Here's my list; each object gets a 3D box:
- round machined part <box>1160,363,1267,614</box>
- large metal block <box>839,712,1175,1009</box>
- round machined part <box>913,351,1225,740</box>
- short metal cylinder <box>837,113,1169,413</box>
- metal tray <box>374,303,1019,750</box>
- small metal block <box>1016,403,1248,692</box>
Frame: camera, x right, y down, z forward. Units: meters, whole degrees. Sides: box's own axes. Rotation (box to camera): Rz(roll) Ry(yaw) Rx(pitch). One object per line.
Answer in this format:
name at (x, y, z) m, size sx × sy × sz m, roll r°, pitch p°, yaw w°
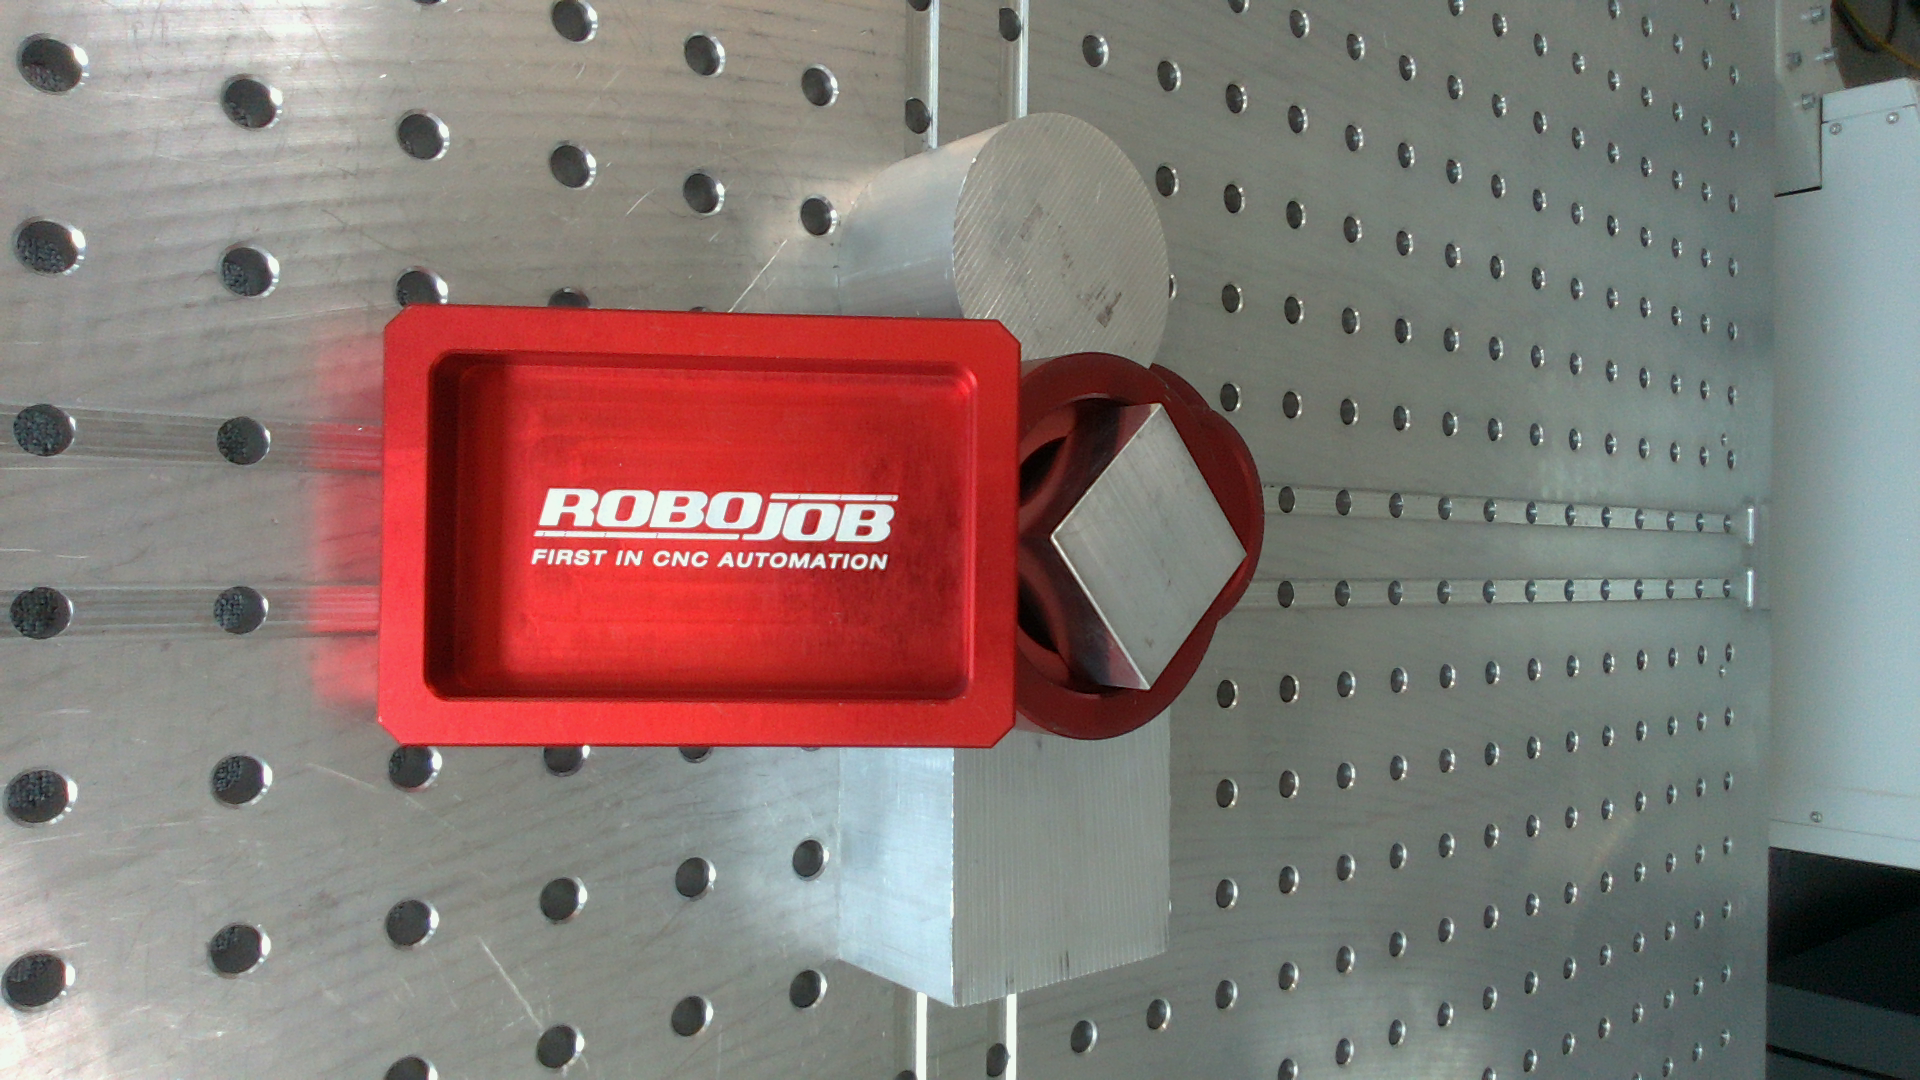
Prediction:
round machined part at (0.058, -0.008, 0.427) m, size 0.098 × 0.042 × 0.098 m, roll 0°, pitch 90°, yaw -40°
large metal block at (0.014, 0.076, 0.384) m, size 0.080 × 0.050 × 0.080 m, roll 1°, pitch 89°, yaw -40°
round machined part at (0.023, 0.001, 0.362) m, size 0.098 × 0.042 × 0.098 m, roll 0°, pitch 90°, yaw -40°
short metal cylinder at (0.013, -0.073, 0.386) m, size 0.080 × 0.050 × 0.080 m, roll 0°, pitch 90°, yaw -40°
metal tray at (-0.054, -0.002, 0.297) m, size 0.130 × 0.030 × 0.090 m, roll 1°, pitch 89°, yaw -3°
small metal block at (0.040, 0.002, 0.345) m, size 0.050 × 0.025 × 0.050 m, roll -49°, pitch 119°, yaw -29°
